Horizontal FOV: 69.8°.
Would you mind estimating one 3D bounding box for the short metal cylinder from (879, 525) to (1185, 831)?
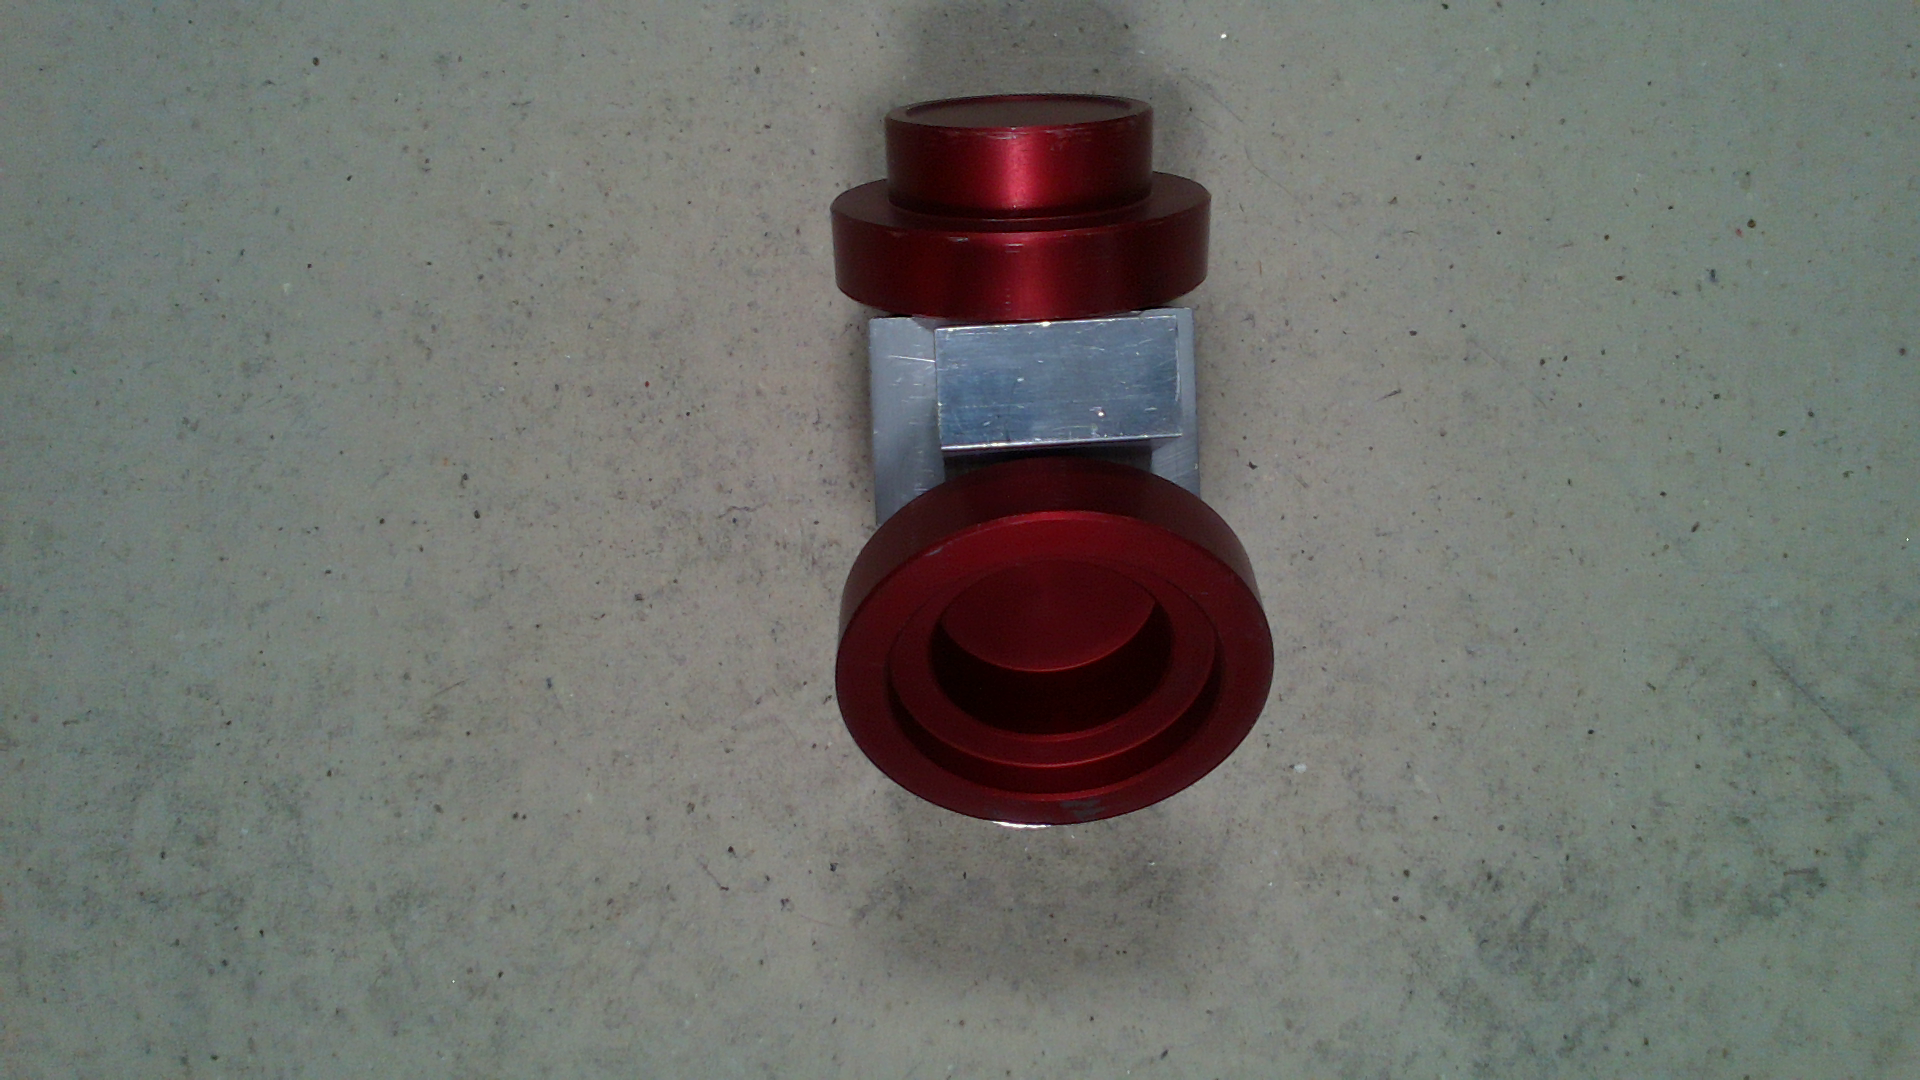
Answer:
[{"bbox_3d":[0.019,0.036,0.384,0.080,0.050,0.080,0,90,0],"label":"short metal cylinder"}]

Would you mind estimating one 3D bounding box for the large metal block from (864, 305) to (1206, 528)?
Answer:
[{"bbox_3d":[0.018,-0.029,0.367,0.080,0.080,0.050,-2,90,0],"label":"large metal block"}]

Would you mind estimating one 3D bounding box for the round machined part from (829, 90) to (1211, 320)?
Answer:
[{"bbox_3d":[0.015,-0.090,0.355,0.098,0.098,0.042,-2,115,0],"label":"round machined part"}]

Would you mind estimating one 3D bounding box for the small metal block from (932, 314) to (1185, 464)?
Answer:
[{"bbox_3d":[0.020,-0.032,0.302,0.050,0.050,0.025,-3,90,0],"label":"small metal block"}]

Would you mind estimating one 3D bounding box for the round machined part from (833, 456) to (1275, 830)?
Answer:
[{"bbox_3d":[0.021,0.020,0.321,0.098,0.042,0.098,-1,129,-1],"label":"round machined part"}]
